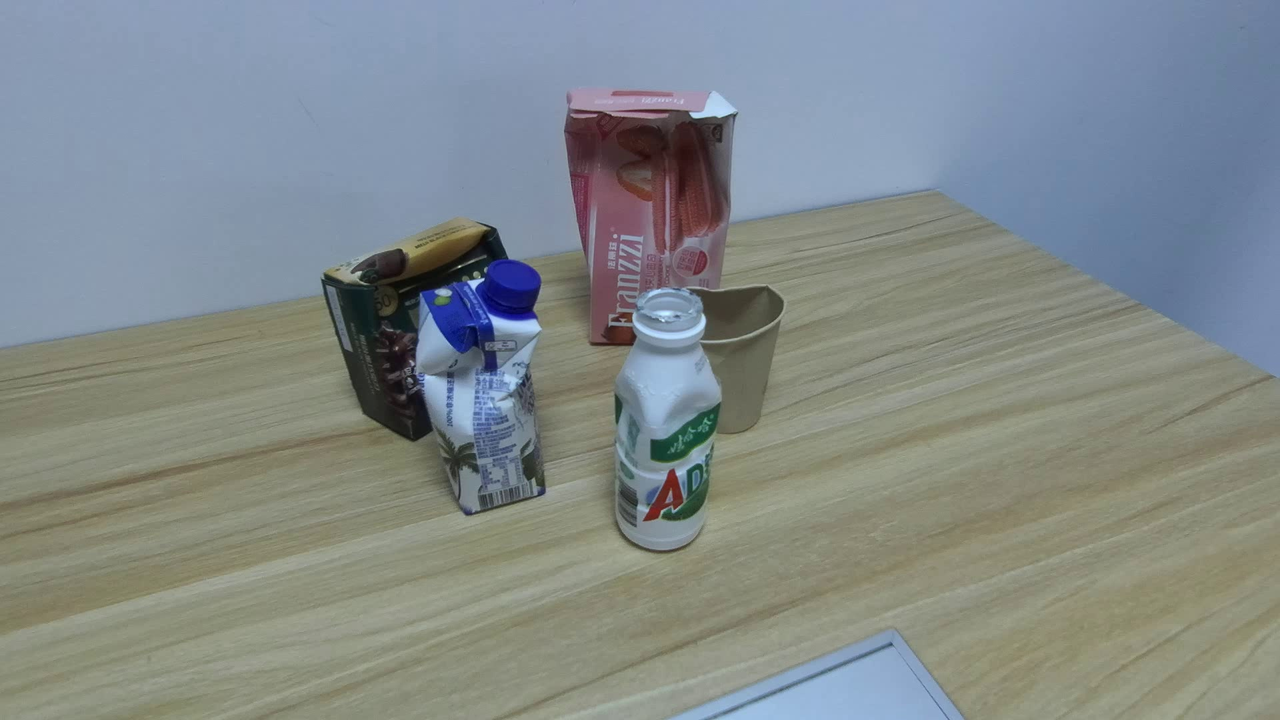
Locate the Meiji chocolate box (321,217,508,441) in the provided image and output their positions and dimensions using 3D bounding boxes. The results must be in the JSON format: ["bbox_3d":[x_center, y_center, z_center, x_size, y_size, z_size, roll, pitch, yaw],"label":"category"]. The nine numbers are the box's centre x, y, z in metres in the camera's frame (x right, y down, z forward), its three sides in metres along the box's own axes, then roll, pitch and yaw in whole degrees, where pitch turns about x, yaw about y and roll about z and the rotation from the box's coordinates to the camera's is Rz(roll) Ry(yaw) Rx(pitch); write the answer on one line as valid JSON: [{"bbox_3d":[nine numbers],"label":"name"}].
[{"bbox_3d":[-0.140,-0.024,0.481,0.058,0.111,0.113,16,35,30],"label":"Meiji chocolate box"}]

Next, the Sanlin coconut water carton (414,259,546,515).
[{"bbox_3d":[-0.086,0.016,0.395,0.070,0.144,0.060,-13,39,-19],"label":"Sanlin coconut water carton"}]

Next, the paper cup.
[{"bbox_3d":[0.058,0.002,0.462,0.071,0.084,0.066,-3,36,-1],"label":"paper cup"}]

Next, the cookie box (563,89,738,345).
[{"bbox_3d":[0.005,-0.096,0.514,0.118,0.184,0.055,3,35,5],"label":"cookie box"}]

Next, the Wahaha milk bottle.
[{"bbox_3d":[0.012,0.033,0.366,0.055,0.149,0.055,0,36,0],"label":"Wahaha milk bottle"}]
